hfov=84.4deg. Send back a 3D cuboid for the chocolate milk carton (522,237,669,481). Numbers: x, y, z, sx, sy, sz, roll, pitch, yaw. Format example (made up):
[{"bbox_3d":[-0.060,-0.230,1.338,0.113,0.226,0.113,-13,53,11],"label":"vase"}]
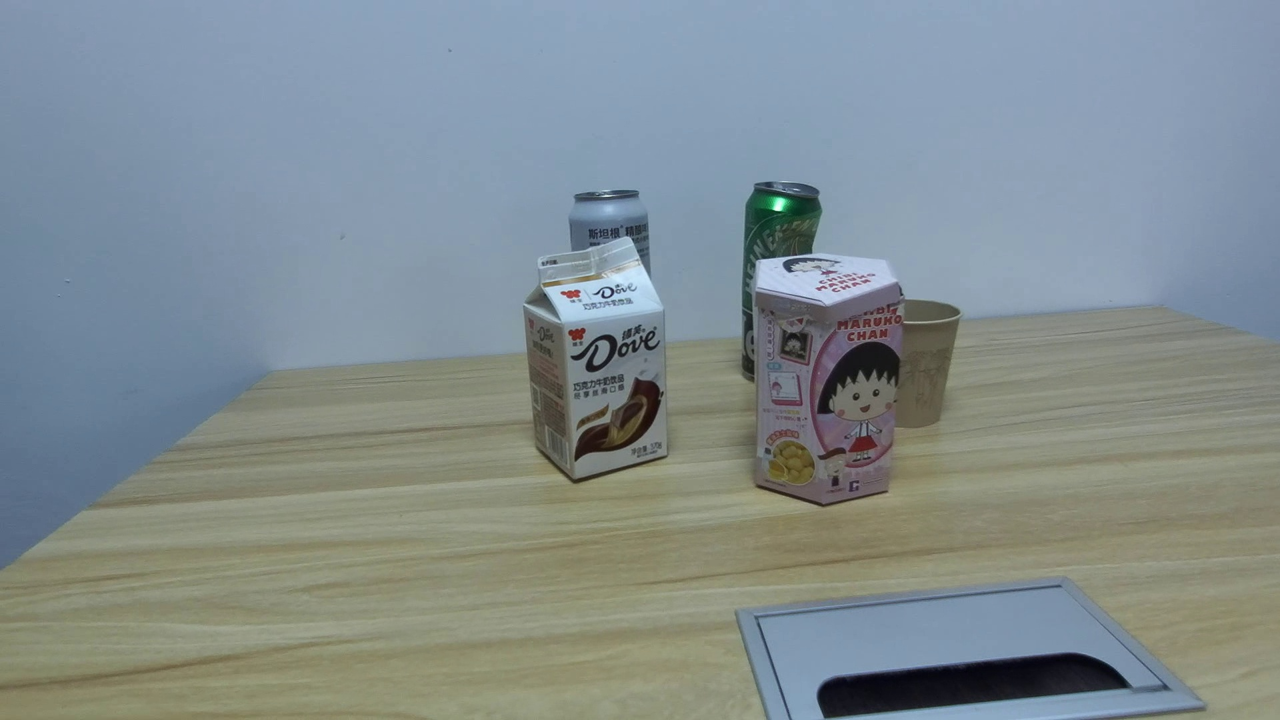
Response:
[{"bbox_3d":[-0.031,-0.005,0.482,0.076,0.148,0.073,-11,19,-26],"label":"chocolate milk carton"}]

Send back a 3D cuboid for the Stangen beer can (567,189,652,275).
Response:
[{"bbox_3d":[-0.023,-0.061,0.619,0.067,0.171,0.067,-3,18,1],"label":"Stangen beer can"}]

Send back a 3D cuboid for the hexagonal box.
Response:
[{"bbox_3d":[0.111,0.009,0.435,0.092,0.135,0.084,-8,20,-16],"label":"hexagonal box"}]

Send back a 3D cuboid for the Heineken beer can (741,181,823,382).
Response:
[{"bbox_3d":[0.122,-0.064,0.609,0.068,0.168,0.069,-1,14,-8],"label":"Heineken beer can"}]
